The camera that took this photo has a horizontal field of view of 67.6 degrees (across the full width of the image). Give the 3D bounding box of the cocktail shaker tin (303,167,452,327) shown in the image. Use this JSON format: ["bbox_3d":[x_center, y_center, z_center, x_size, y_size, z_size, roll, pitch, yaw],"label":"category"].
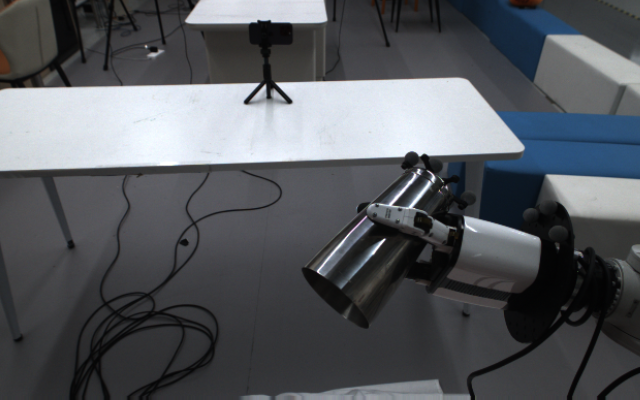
[{"bbox_3d":[0.072,0.040,0.530,0.093,0.093,0.170,32,67,36],"label":"cocktail shaker tin"}]
